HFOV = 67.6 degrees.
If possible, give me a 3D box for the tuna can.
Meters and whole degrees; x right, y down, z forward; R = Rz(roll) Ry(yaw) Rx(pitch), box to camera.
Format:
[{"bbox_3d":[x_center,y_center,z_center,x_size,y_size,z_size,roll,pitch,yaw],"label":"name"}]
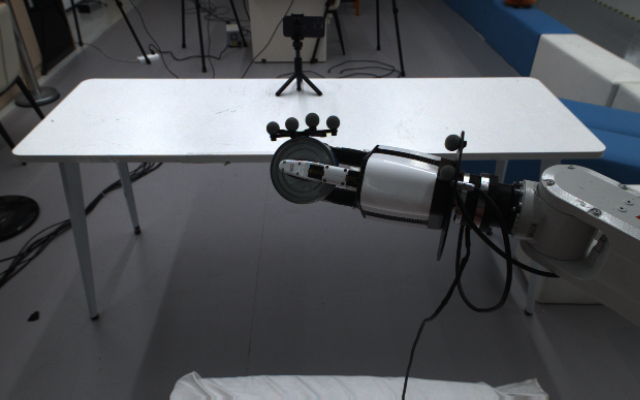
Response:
[{"bbox_3d":[-0.016,-0.033,0.620,0.085,0.085,0.034,10,2,11],"label":"tuna can"}]
